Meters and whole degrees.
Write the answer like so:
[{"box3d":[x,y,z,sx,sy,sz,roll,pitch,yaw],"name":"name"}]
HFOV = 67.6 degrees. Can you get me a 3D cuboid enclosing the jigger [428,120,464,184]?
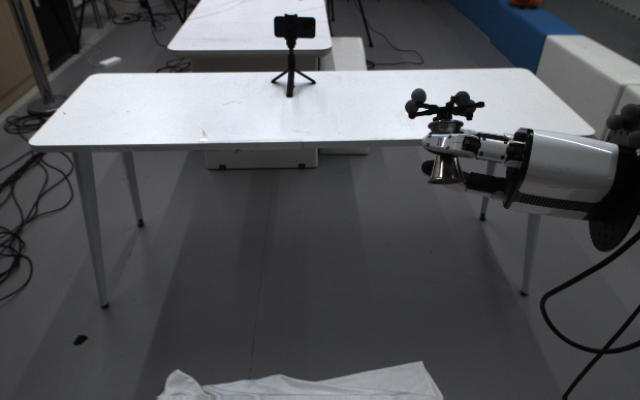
[{"box3d":[0.145,-0.055,0.562,0.043,0.071,0.043,1,-5,0],"name":"jigger"}]
